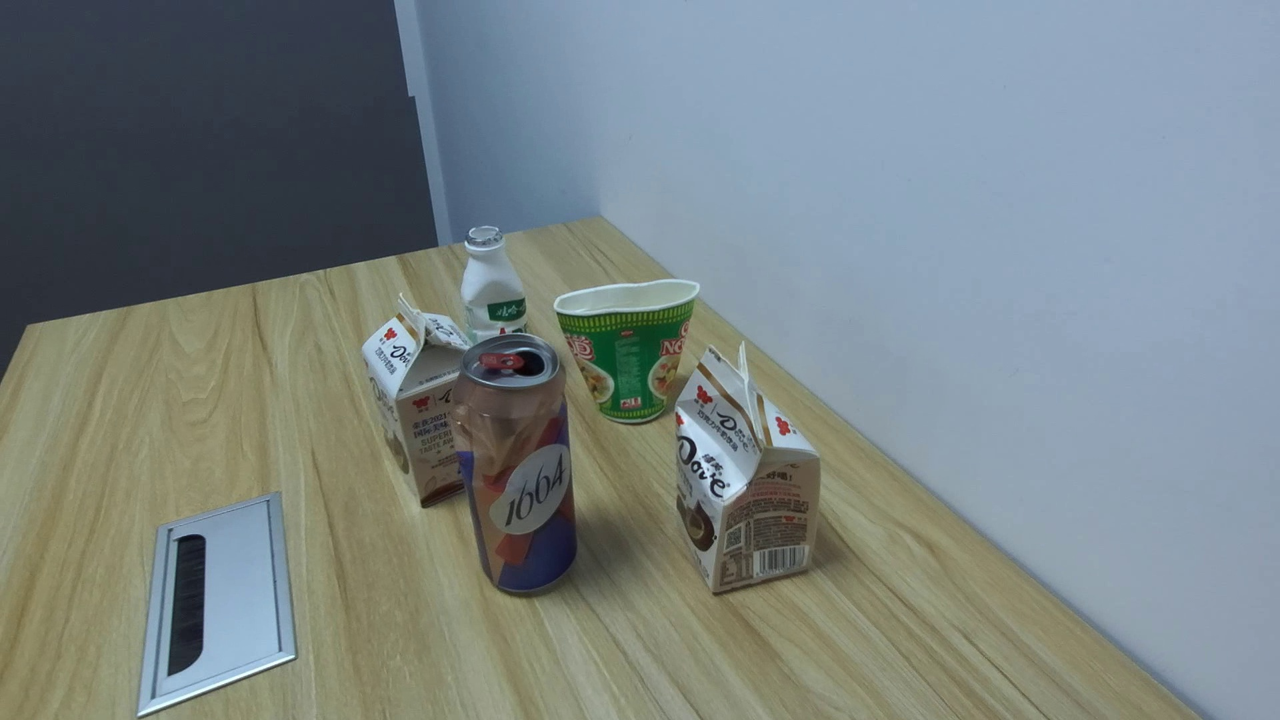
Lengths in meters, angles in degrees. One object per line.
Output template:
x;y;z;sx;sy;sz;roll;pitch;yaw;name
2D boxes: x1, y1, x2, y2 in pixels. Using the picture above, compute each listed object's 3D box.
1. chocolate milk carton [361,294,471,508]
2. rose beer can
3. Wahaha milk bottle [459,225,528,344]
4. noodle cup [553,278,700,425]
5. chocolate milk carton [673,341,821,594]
-0.152;0.023;0.525;0.074;0.148;0.075;-23;41;-27;chocolate milk carton
-0.074;0.070;0.444;0.065;0.167;0.076;26;38;33;rose beer can
-0.130;-0.046;0.634;0.056;0.148;0.056;1;34;0;Wahaha milk bottle
-0.009;-0.008;0.606;0.115;0.111;0.070;3;33;8;noodle cup
0.068;0.065;0.452;0.074;0.156;0.076;-11;36;-11;chocolate milk carton
